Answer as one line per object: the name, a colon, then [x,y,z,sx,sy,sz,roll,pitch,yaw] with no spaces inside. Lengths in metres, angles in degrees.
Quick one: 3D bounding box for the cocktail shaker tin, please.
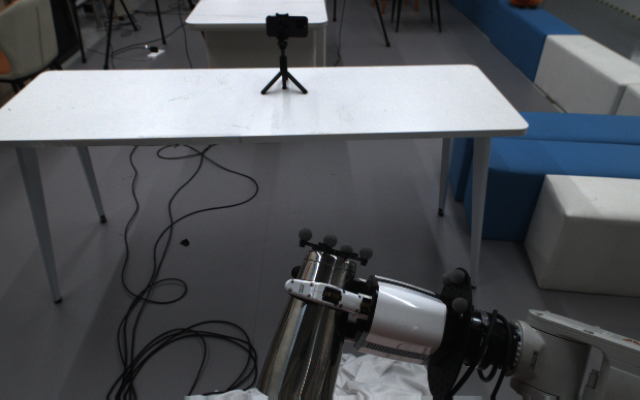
cocktail shaker tin: [-0.005,0.150,0.588,0.093,0.093,0.170,13,78,15]
